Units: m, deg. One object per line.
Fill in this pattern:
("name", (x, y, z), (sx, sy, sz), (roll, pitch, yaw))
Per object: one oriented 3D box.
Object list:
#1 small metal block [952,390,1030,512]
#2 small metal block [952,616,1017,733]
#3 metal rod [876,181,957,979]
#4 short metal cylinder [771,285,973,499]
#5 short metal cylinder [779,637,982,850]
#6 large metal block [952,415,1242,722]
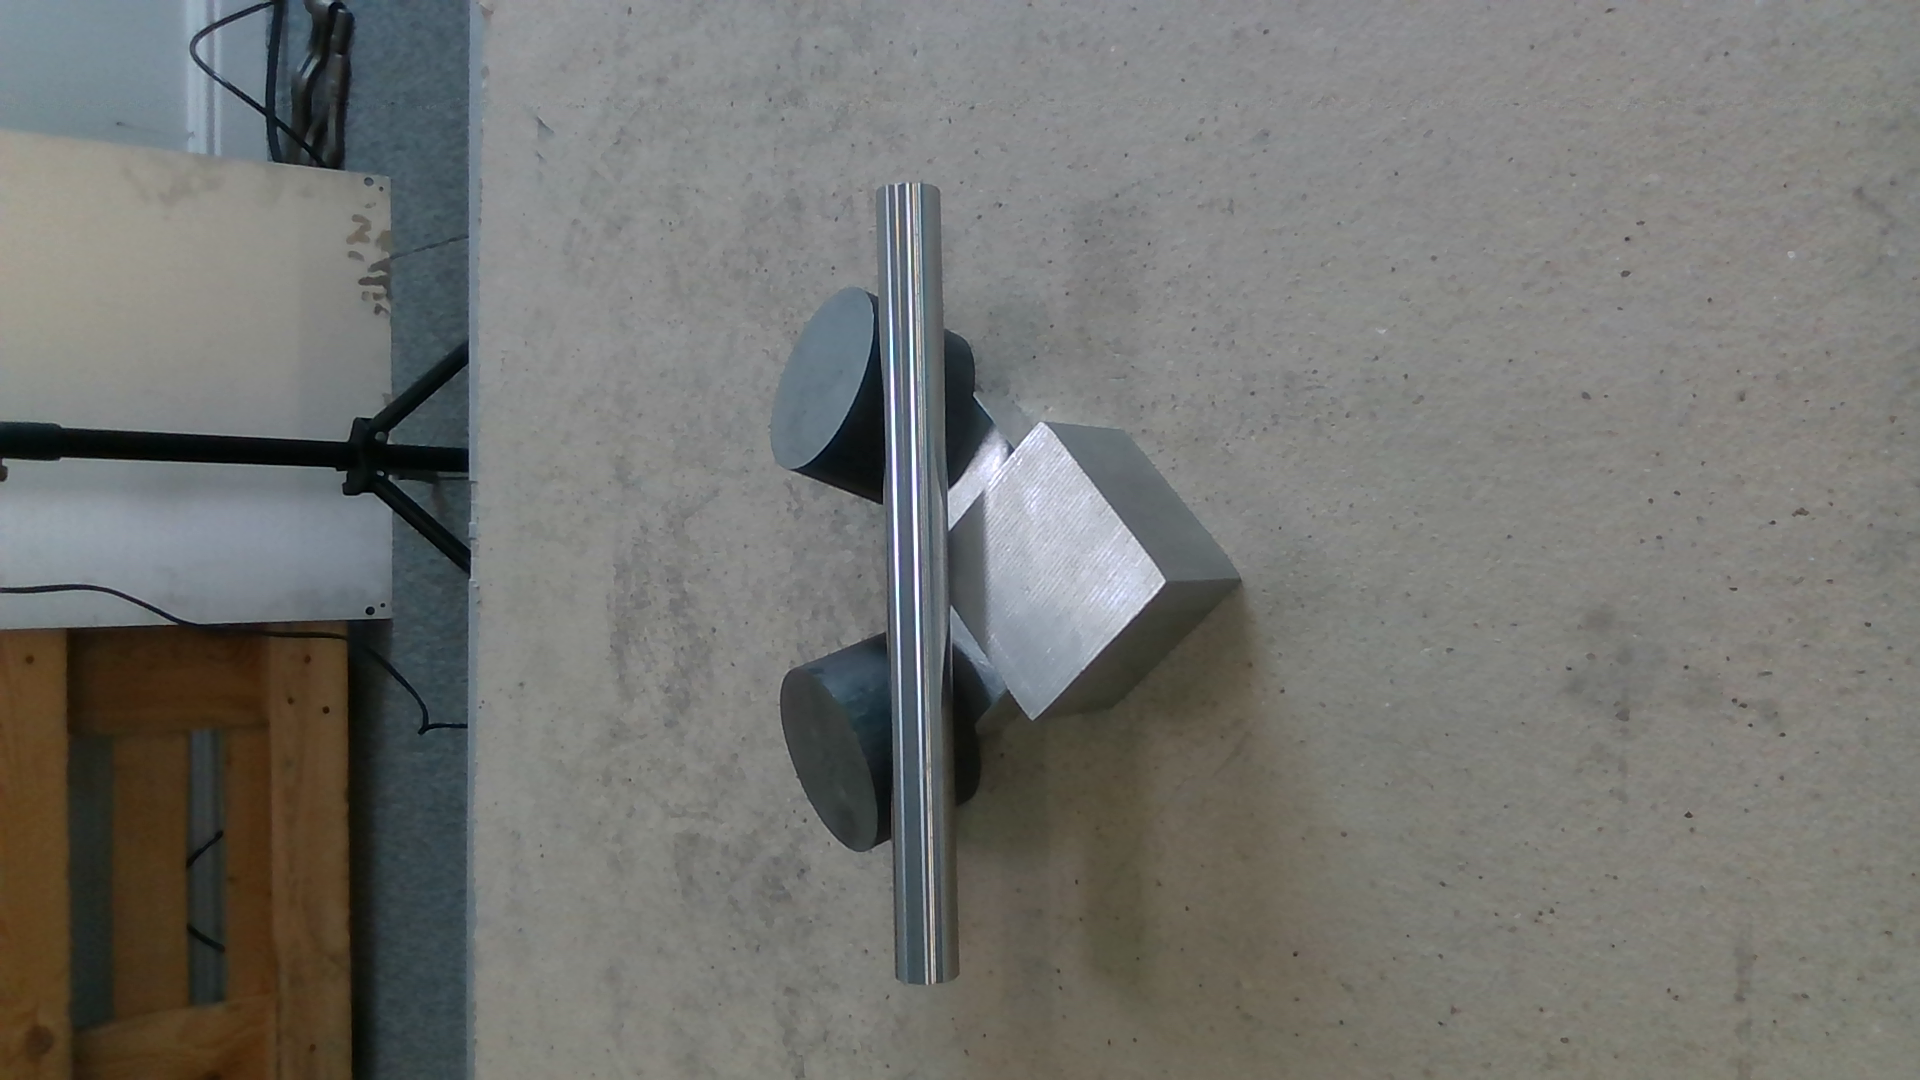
("small metal block", (0.011, -0.026, 0.573), (0.050, 0.025, 0.050), (-51, 61, 28))
("small metal block", (0.010, 0.046, 0.574), (0.050, 0.025, 0.050), (-51, 60, 28))
("metal rod", (-0.017, 0.015, 0.529), (0.025, 0.025, 0.300), (-2, 89, 40))
("short metal cylinder", (-0.039, -0.060, 0.579), (0.080, 0.050, 0.080), (-35, 45, 44))
("short metal cylinder", (-0.035, 0.083, 0.578), (0.080, 0.050, 0.080), (37, 137, 44))
("large metal block", (0.045, 0.011, 0.526), (0.080, 0.050, 0.080), (-50, 61, 29))
